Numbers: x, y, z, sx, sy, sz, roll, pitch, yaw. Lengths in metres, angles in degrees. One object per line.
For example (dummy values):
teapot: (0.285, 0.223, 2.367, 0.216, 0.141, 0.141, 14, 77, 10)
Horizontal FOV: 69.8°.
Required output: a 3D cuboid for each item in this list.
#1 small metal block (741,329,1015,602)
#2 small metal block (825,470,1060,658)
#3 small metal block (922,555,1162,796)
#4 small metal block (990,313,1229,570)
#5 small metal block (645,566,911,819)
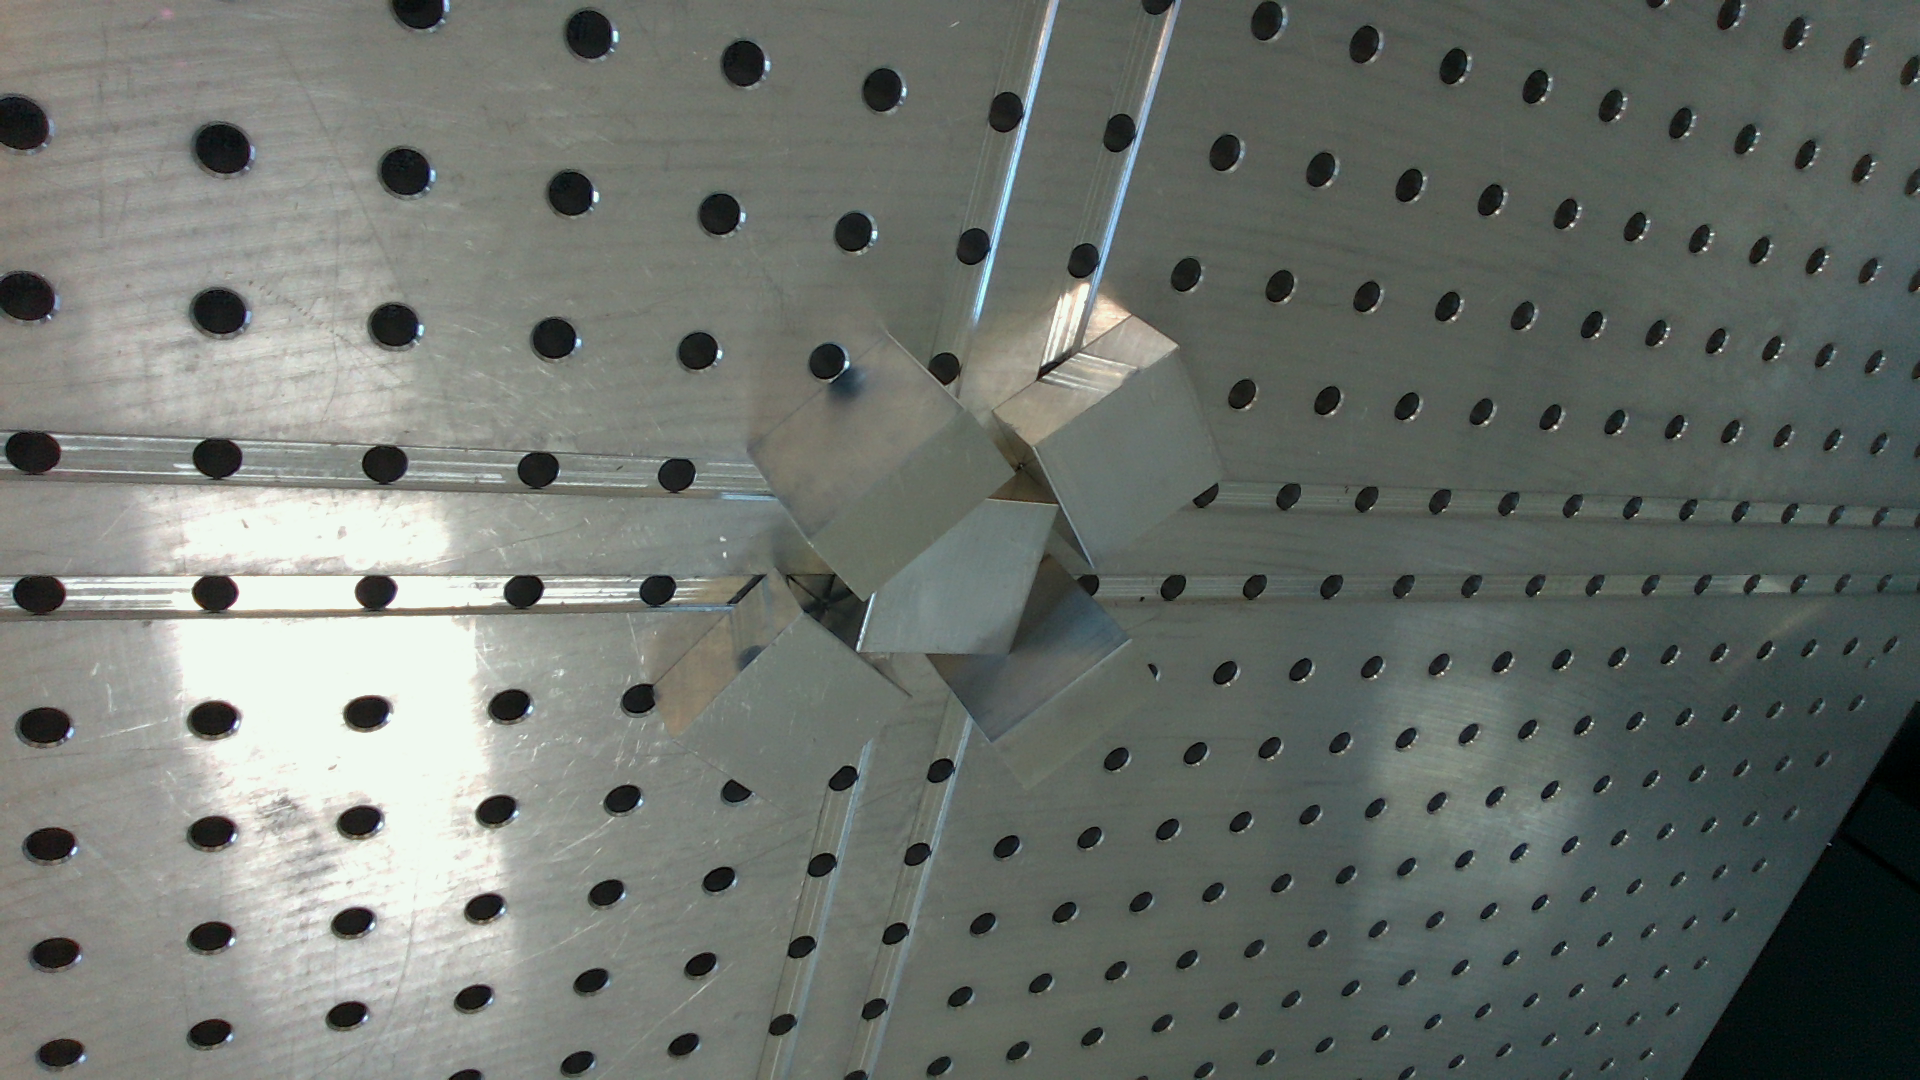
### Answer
small metal block: (-0.022, -0.020, 0.351, 0.050, 0.050, 0.025, -39, 130, -1)
small metal block: (-0.006, 0.005, 0.391, 0.050, 0.025, 0.050, 4, 115, -29)
small metal block: (0.023, 0.039, 0.412, 0.050, 0.050, 0.025, -37, 129, -4)
small metal block: (0.044, -0.028, 0.398, 0.050, 0.025, 0.050, -34, 129, -5)
small metal block: (-0.051, 0.044, 0.391, 0.050, 0.025, 0.050, -44, 130, 2)
